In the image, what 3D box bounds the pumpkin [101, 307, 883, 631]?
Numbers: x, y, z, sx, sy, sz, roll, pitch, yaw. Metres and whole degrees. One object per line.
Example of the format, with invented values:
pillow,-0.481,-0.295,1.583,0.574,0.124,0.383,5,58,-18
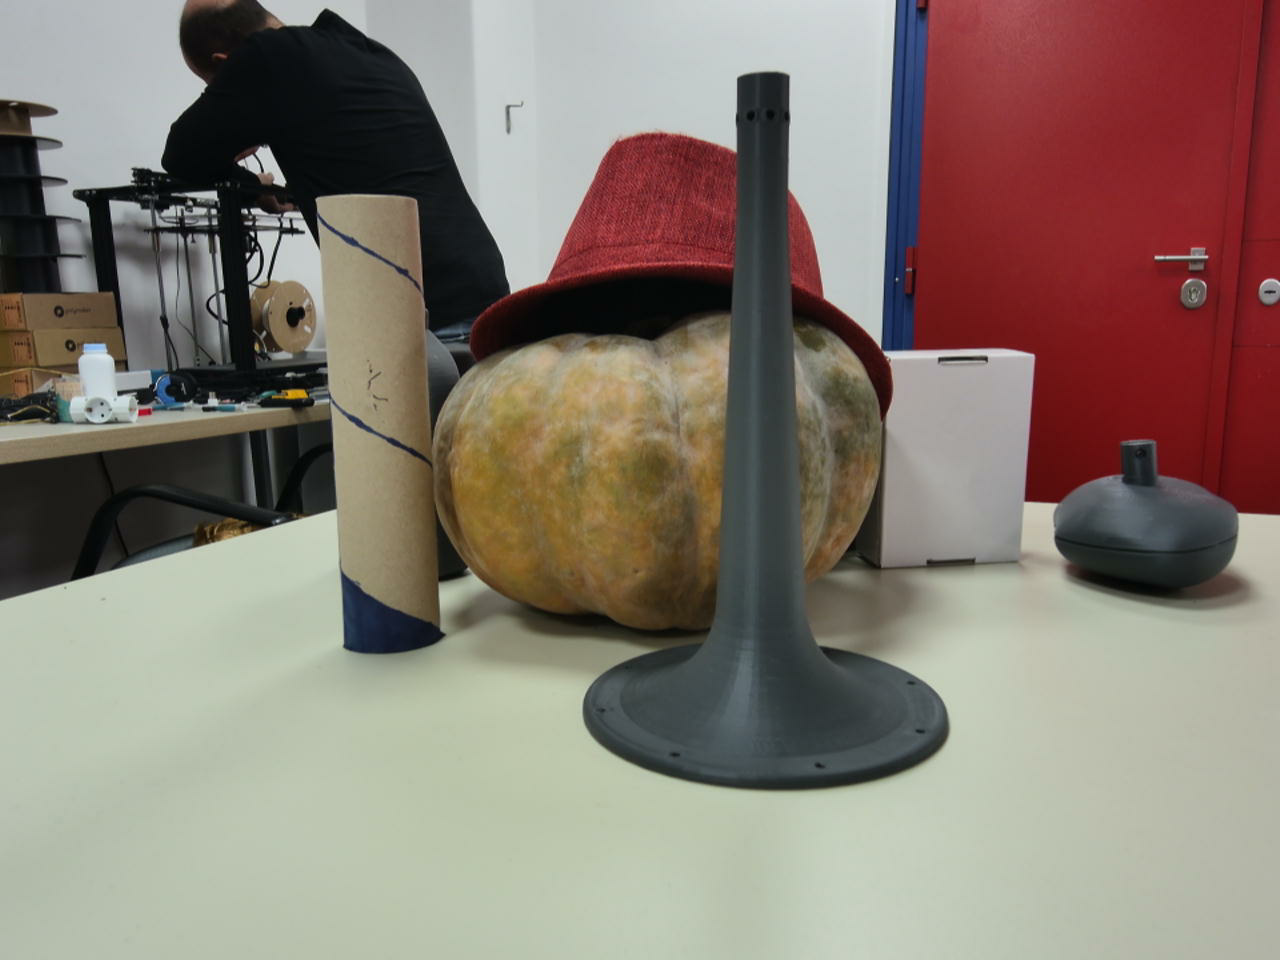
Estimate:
pumpkin,0.005,-0.010,0.563,0.252,0.168,0.252,0,7,0
